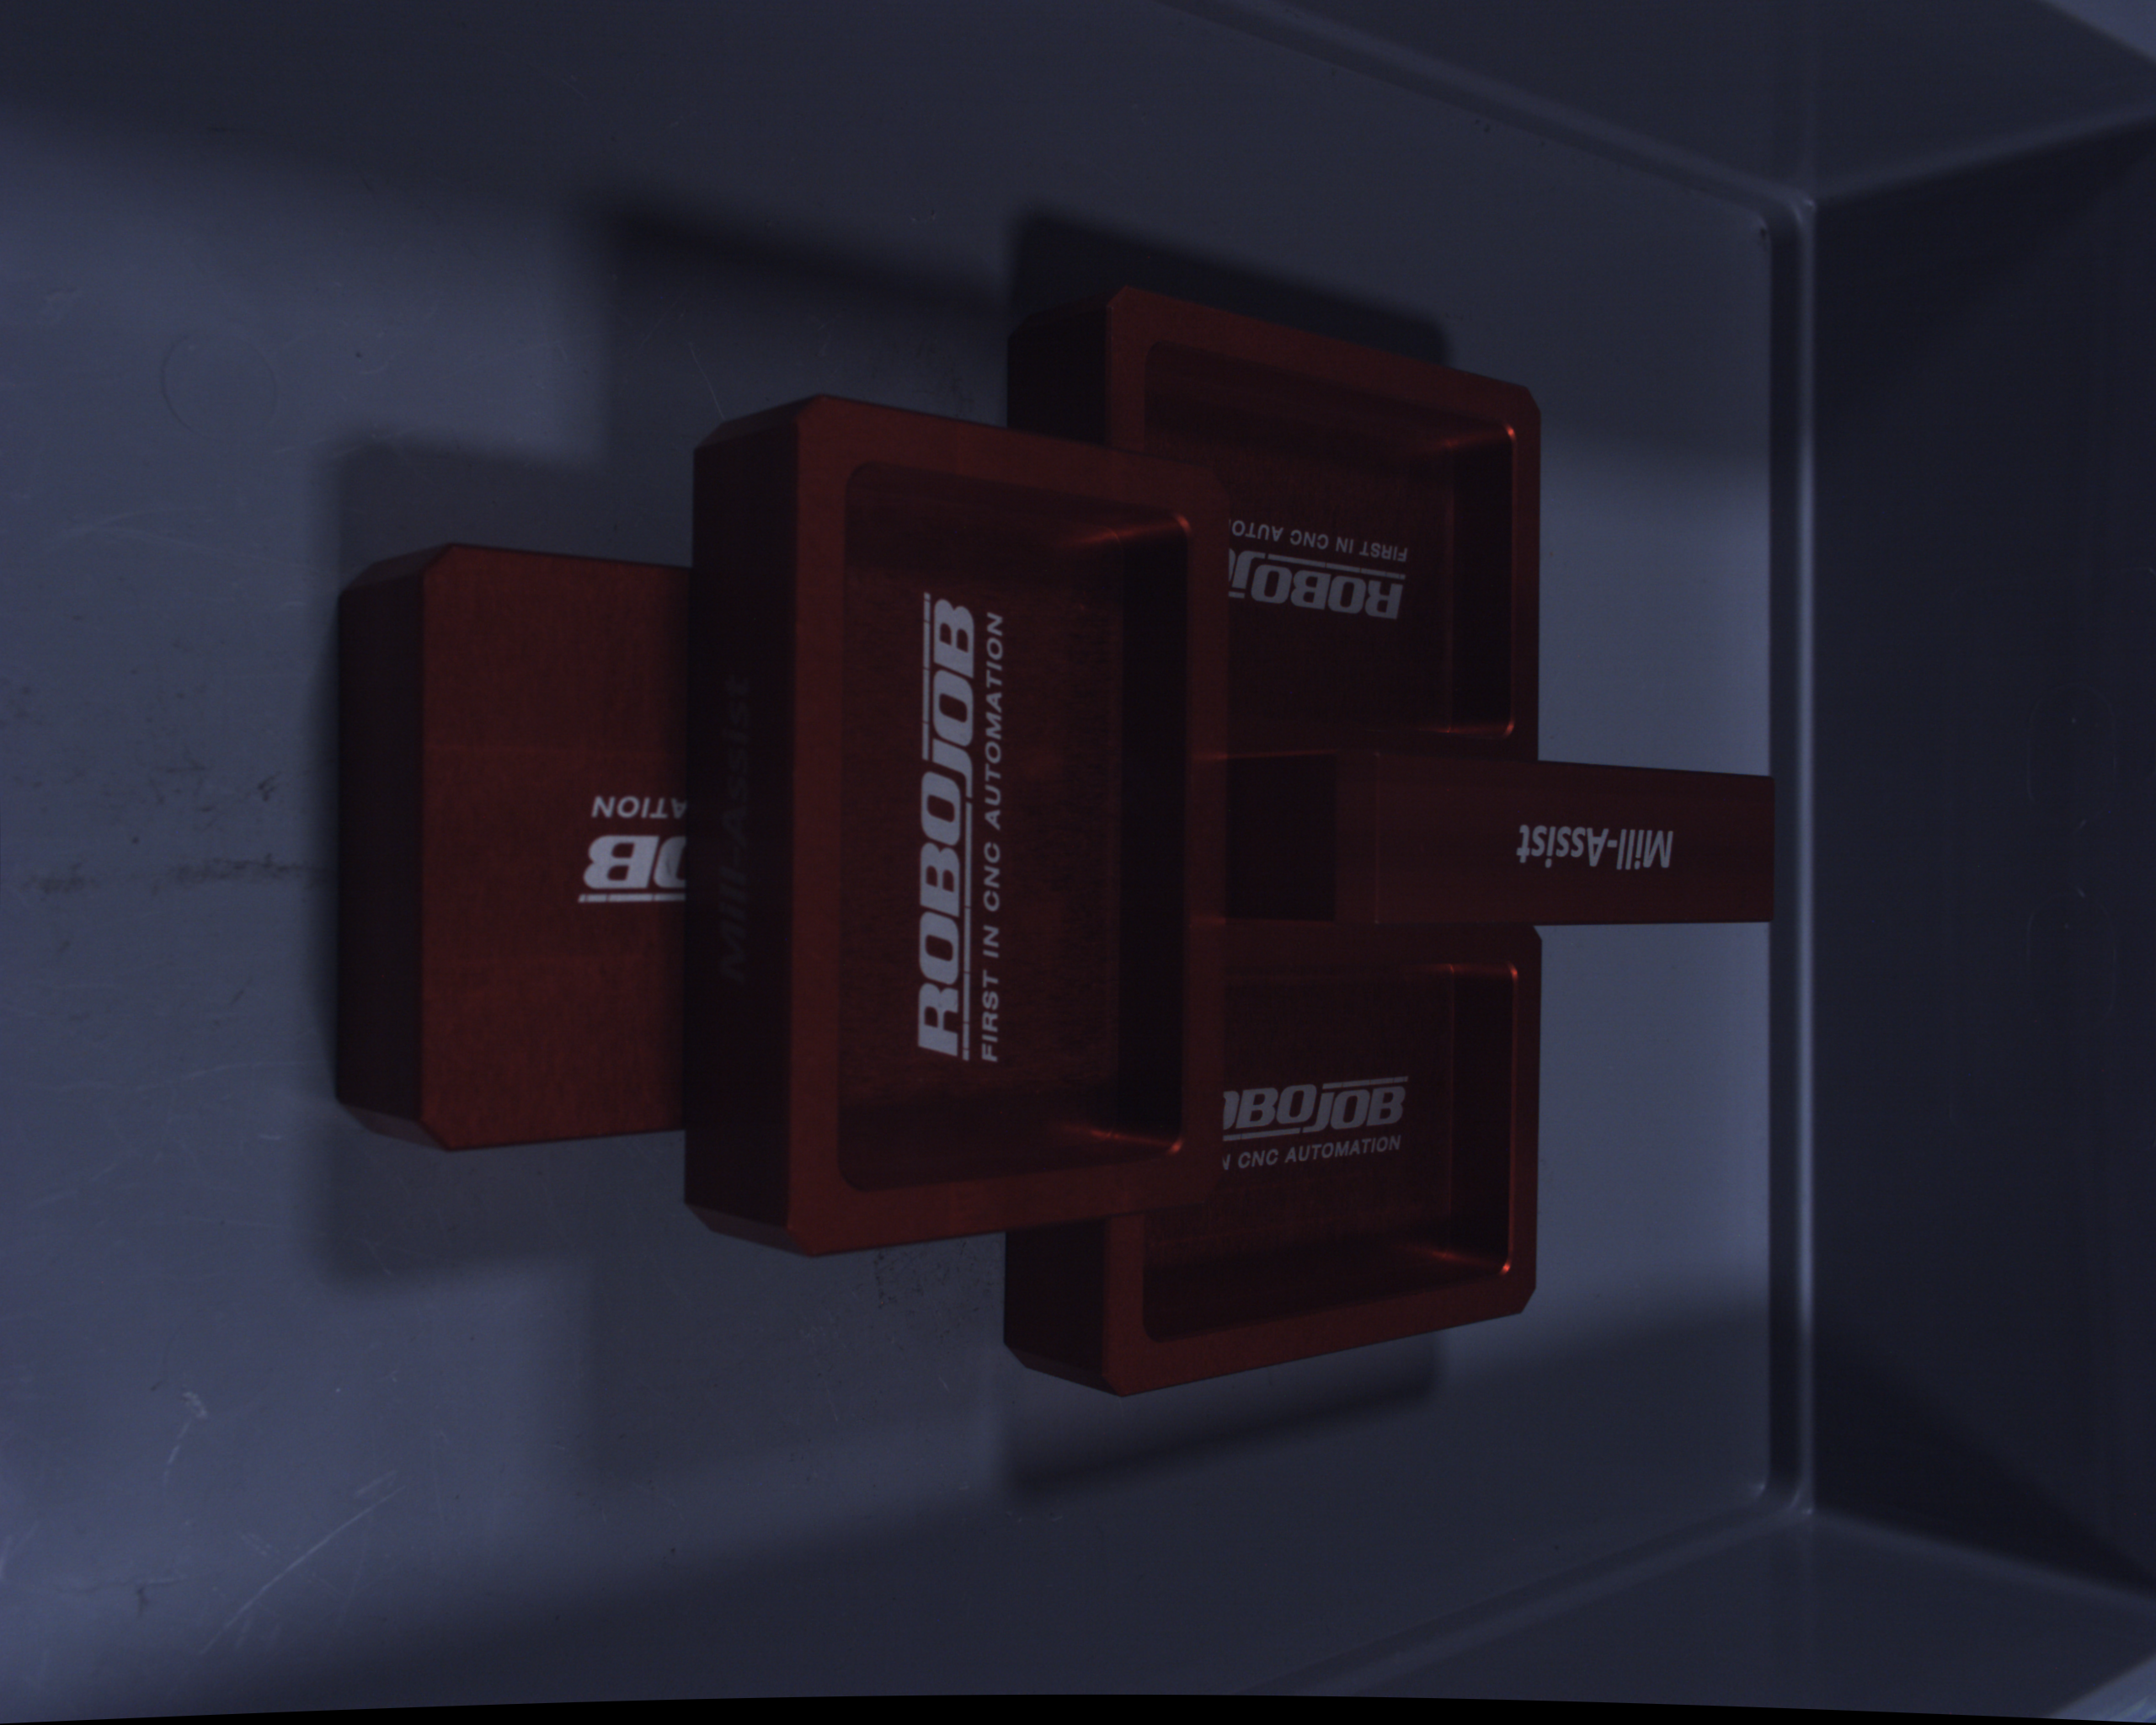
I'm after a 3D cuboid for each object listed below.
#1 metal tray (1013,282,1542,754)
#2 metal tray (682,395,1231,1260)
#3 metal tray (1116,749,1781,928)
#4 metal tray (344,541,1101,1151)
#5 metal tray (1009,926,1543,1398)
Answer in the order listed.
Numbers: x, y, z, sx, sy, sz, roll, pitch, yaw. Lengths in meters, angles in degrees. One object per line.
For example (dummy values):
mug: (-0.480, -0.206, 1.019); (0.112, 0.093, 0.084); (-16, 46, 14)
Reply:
metal tray: (0.046, -0.064, 0.442); (0.131, 0.030, 0.089); (1, 90, -40)
metal tray: (-0.018, -0.005, 0.348); (0.091, 0.030, 0.129); (1, 89, -40)
metal tray: (0.068, -0.004, 0.420); (0.131, 0.090, 0.030); (1, 90, -40)
metal tray: (-0.055, -0.002, 0.355); (0.131, 0.030, 0.089); (0, 90, -40)
metal tray: (0.046, 0.056, 0.442); (0.131, 0.030, 0.089); (1, 90, -40)
